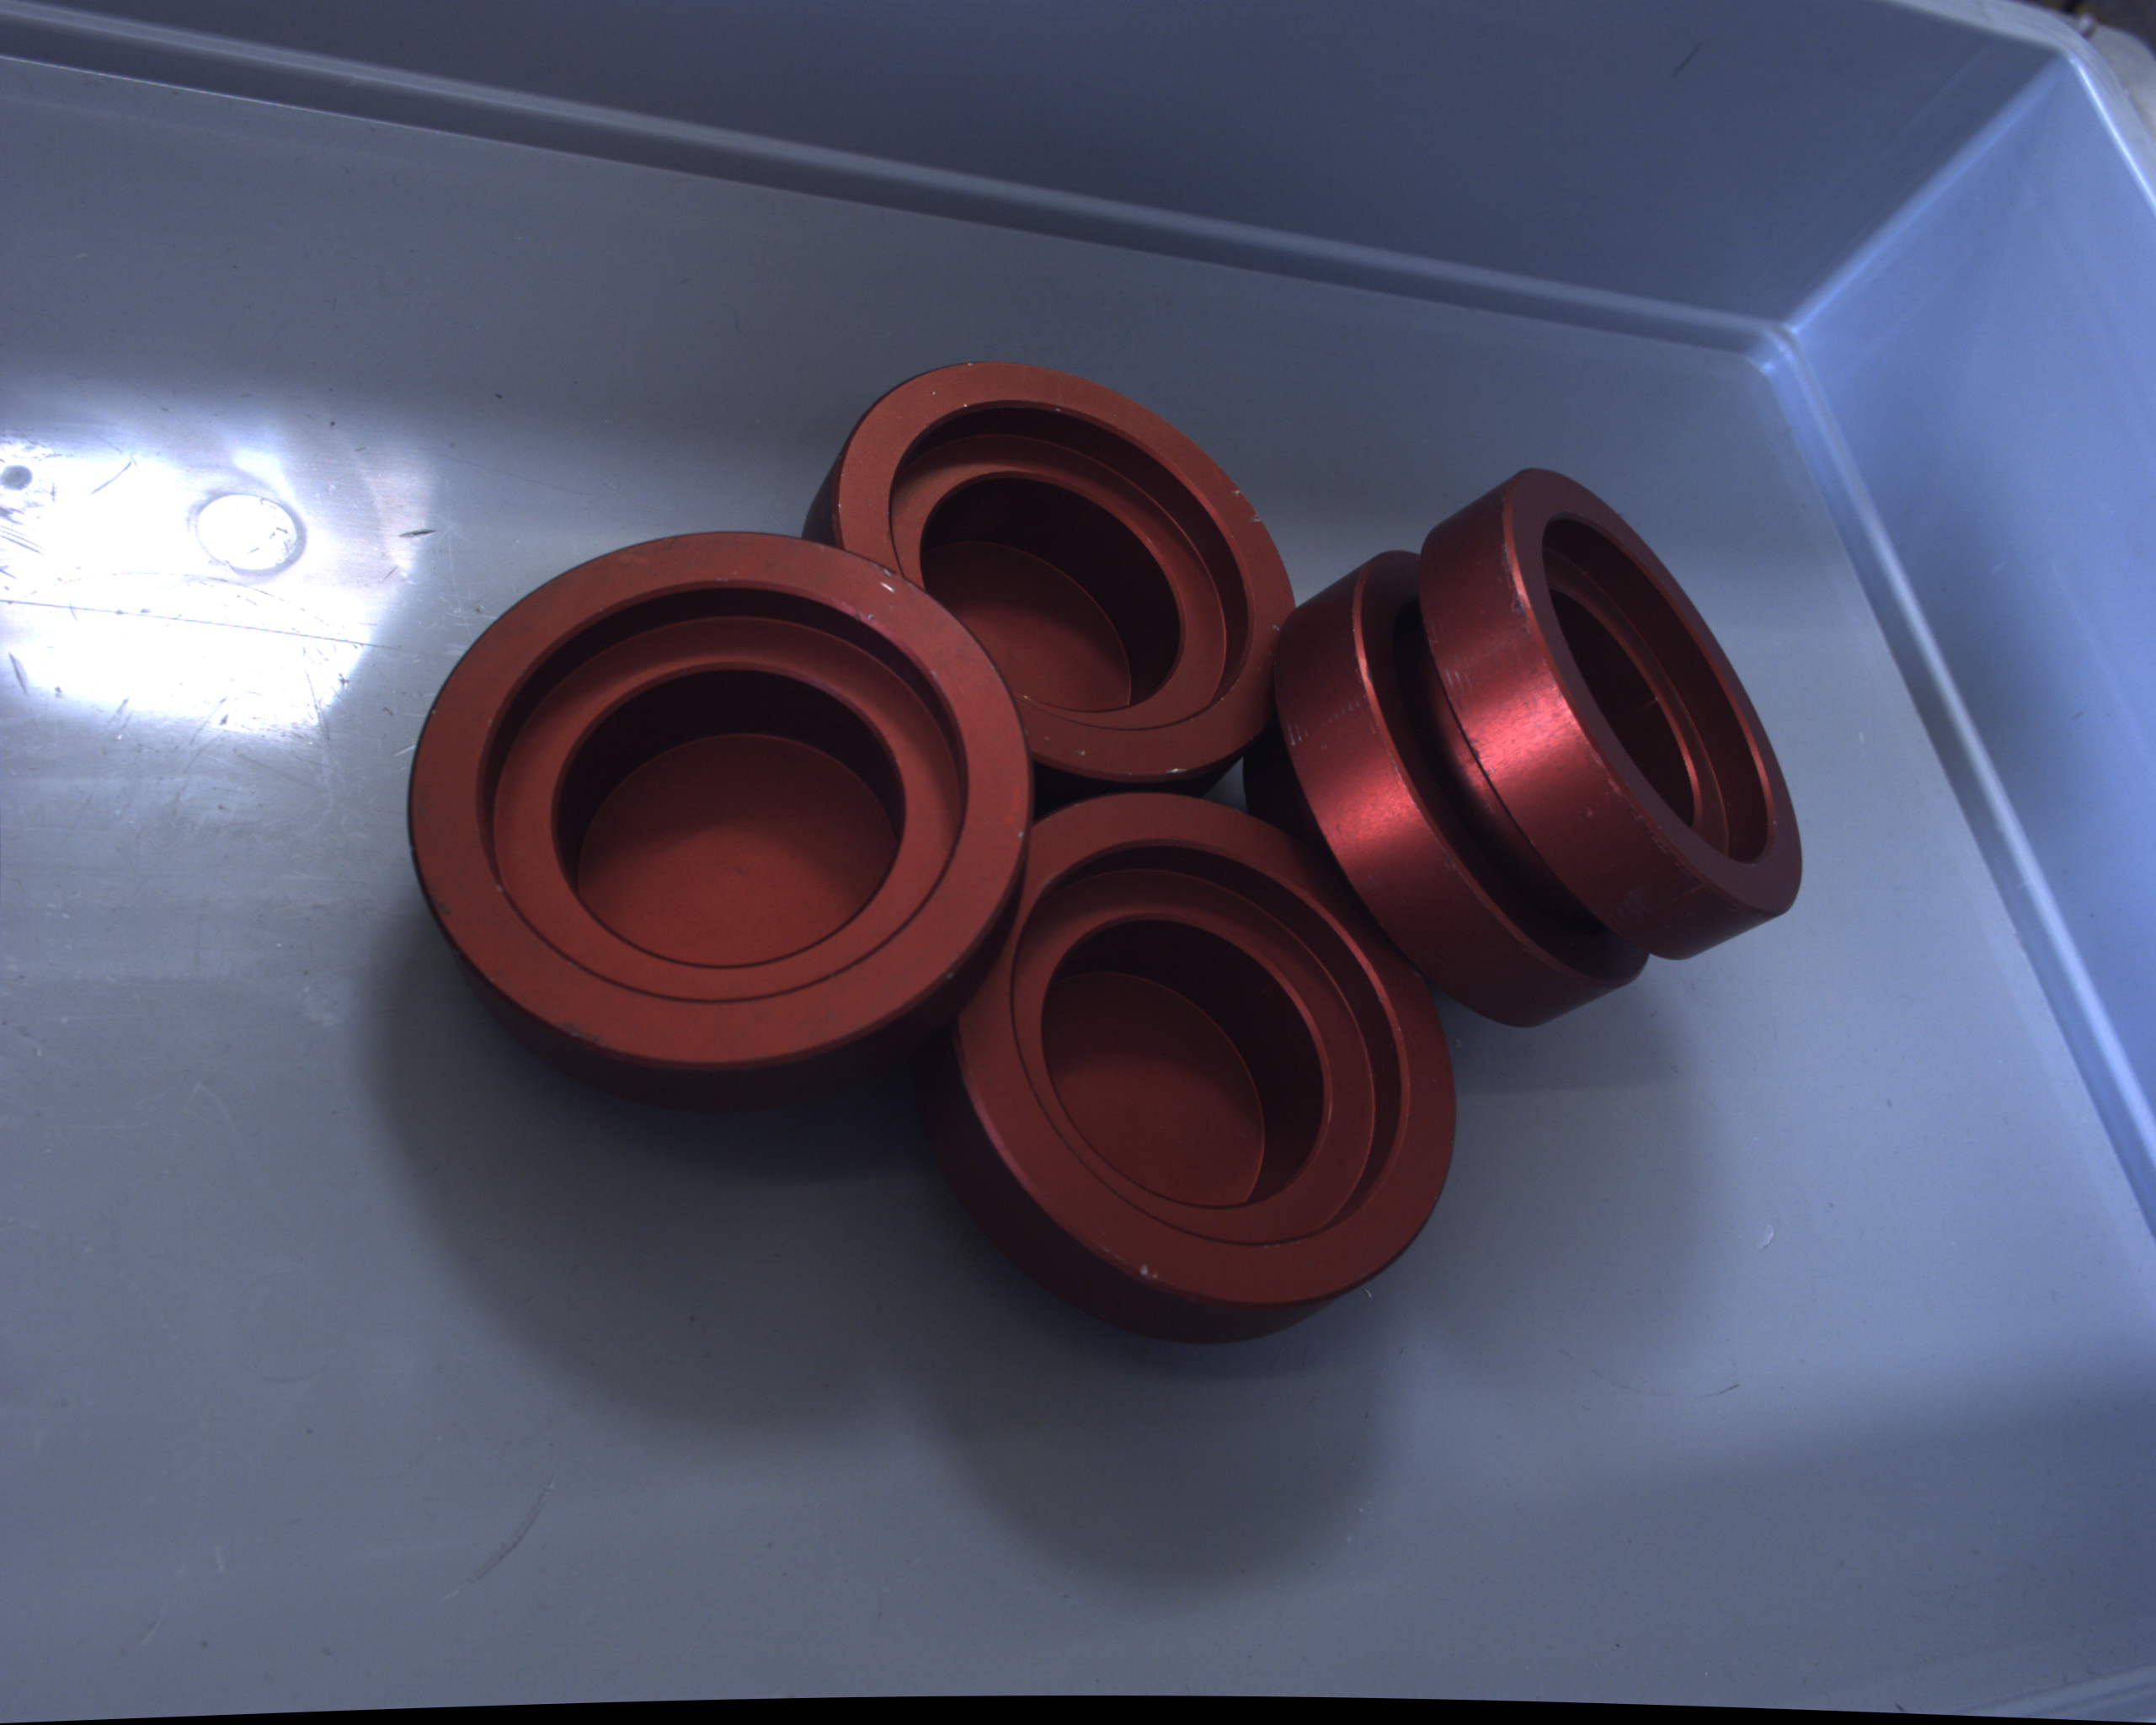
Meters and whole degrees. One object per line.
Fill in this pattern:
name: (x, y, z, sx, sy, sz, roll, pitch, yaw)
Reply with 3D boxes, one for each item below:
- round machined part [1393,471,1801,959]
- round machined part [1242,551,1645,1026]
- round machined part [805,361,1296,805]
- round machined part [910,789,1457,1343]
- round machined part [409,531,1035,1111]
round machined part: (0.096, -0.025, 0.410, 0.098, 0.042, 0.098, 33, 41, -34)
round machined part: (0.071, -0.011, 0.424, 0.098, 0.042, 0.098, 33, 40, -33)
round machined part: (-0.009, -0.049, 0.417, 0.099, 0.042, 0.098, 14, 56, -21)
round machined part: (0.015, 0.039, 0.376, 0.099, 0.042, 0.098, 14, 56, -21)
round machined part: (-0.058, -0.004, 0.351, 0.099, 0.042, 0.098, 2, 63, -4)
